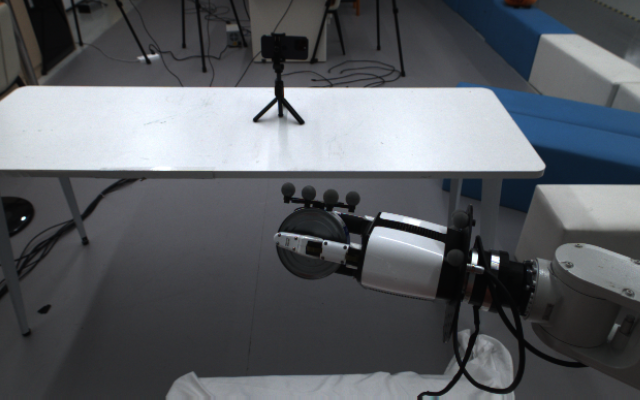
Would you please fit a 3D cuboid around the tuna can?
[{"bbox_3d":[-0.006,0.050,0.581,0.085,0.085,0.034,11,2,13],"label":"tuna can"}]
